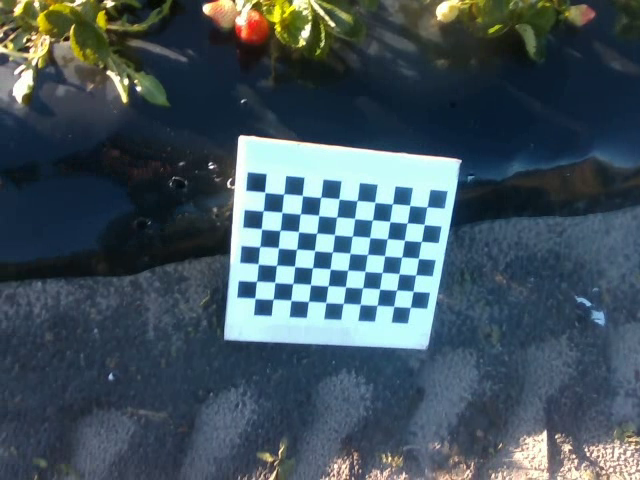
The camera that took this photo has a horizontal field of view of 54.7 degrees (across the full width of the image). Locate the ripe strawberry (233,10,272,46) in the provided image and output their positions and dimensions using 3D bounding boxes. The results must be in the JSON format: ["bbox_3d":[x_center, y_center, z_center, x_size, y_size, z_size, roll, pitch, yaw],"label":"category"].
[{"bbox_3d":[-0.073,-0.236,0.686,0.040,0.038,0.056,-6,19,19],"label":"ripe strawberry"}]
